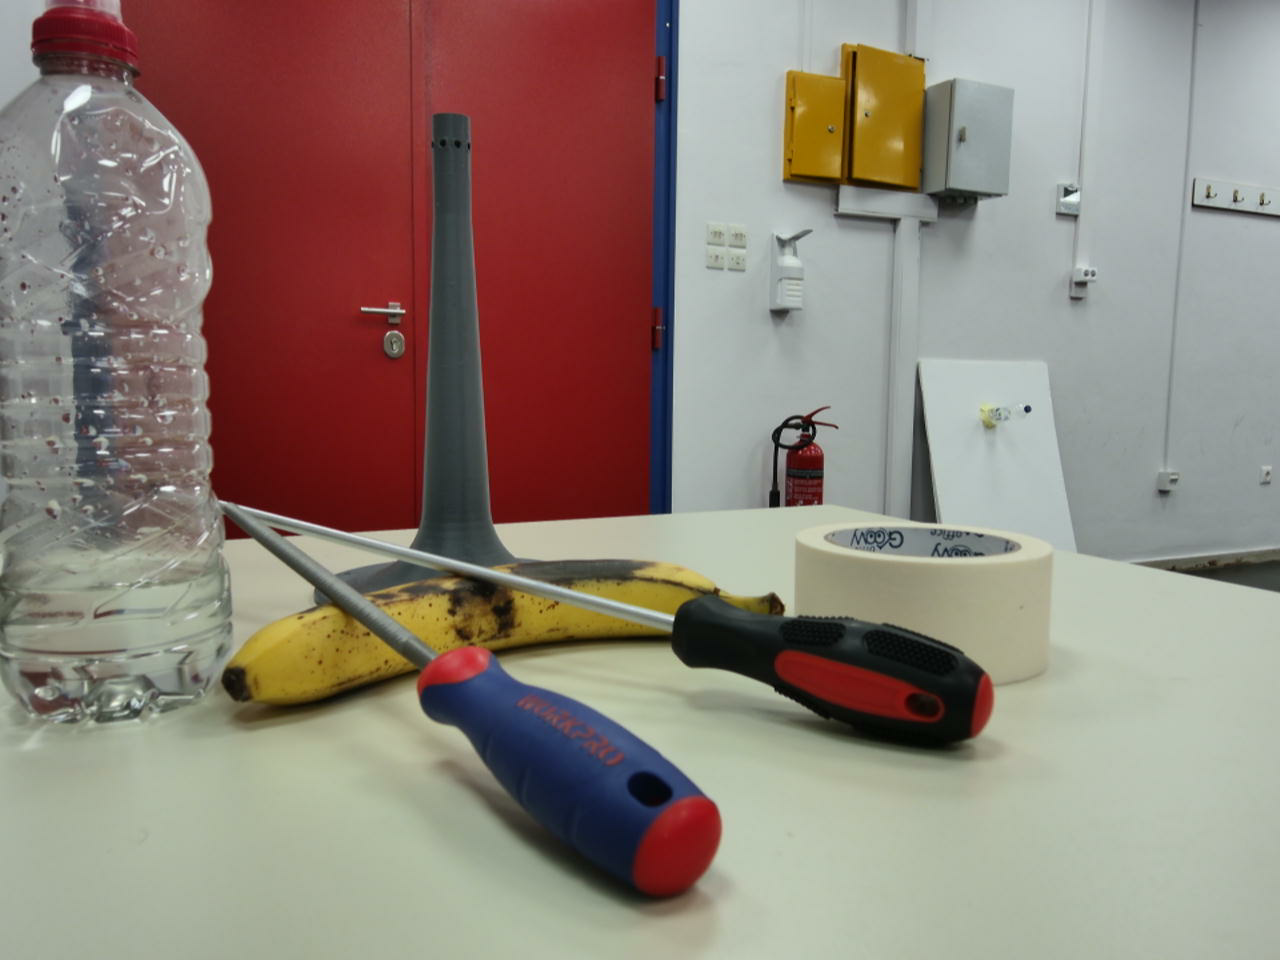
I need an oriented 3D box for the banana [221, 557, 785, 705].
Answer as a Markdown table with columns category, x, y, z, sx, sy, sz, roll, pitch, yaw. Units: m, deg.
| category | x | y | z | sx | sy | sz | roll | pitch | yaw |
| --- | --- | --- | --- | --- | --- | --- | --- | --- | --- |
| banana | -0.054 | 0.057 | 0.411 | 0.222 | 0.037 | 0.084 | -2 | 4 | -26 |
